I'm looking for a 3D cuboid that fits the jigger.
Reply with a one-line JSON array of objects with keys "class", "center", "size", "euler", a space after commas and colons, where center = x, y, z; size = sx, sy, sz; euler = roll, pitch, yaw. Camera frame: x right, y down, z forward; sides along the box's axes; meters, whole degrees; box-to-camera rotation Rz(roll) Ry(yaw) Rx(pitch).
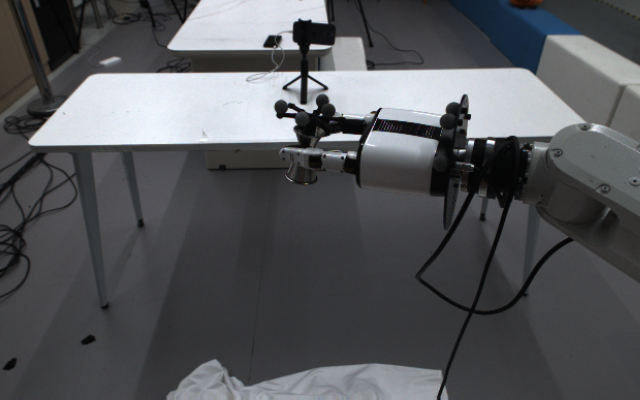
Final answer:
[{"class": "jigger", "center": [-0.019, -0.059, 0.628], "size": [0.043, 0.071, 0.043], "euler": [9, 30, -5]}]
